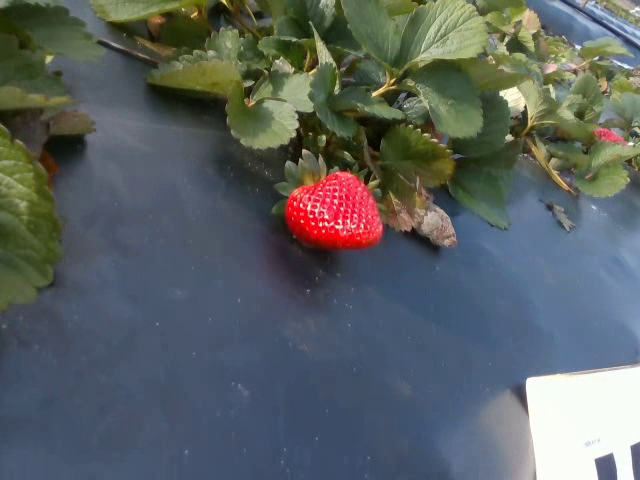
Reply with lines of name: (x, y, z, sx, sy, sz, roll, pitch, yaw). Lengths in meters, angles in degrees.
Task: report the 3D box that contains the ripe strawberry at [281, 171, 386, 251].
ripe strawberry: (0.010, -0.011, 0.261, 0.045, 0.051, 0.058, 12, 22, -41)
